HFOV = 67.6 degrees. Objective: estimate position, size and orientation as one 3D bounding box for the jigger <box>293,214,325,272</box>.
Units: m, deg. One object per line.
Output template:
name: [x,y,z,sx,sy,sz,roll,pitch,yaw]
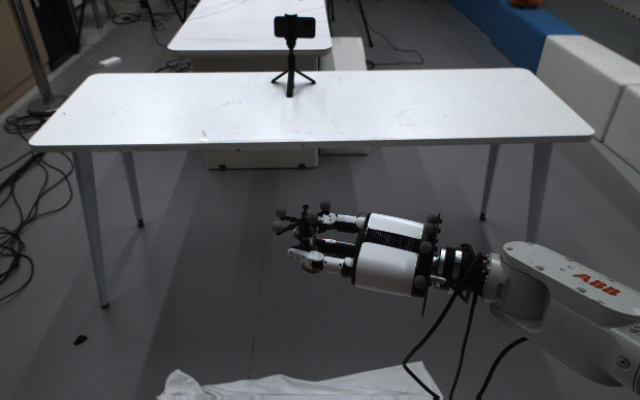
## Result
jigger: [-0.015,0.074,0.753,0.043,0.071,0.043,-10,32,6]
